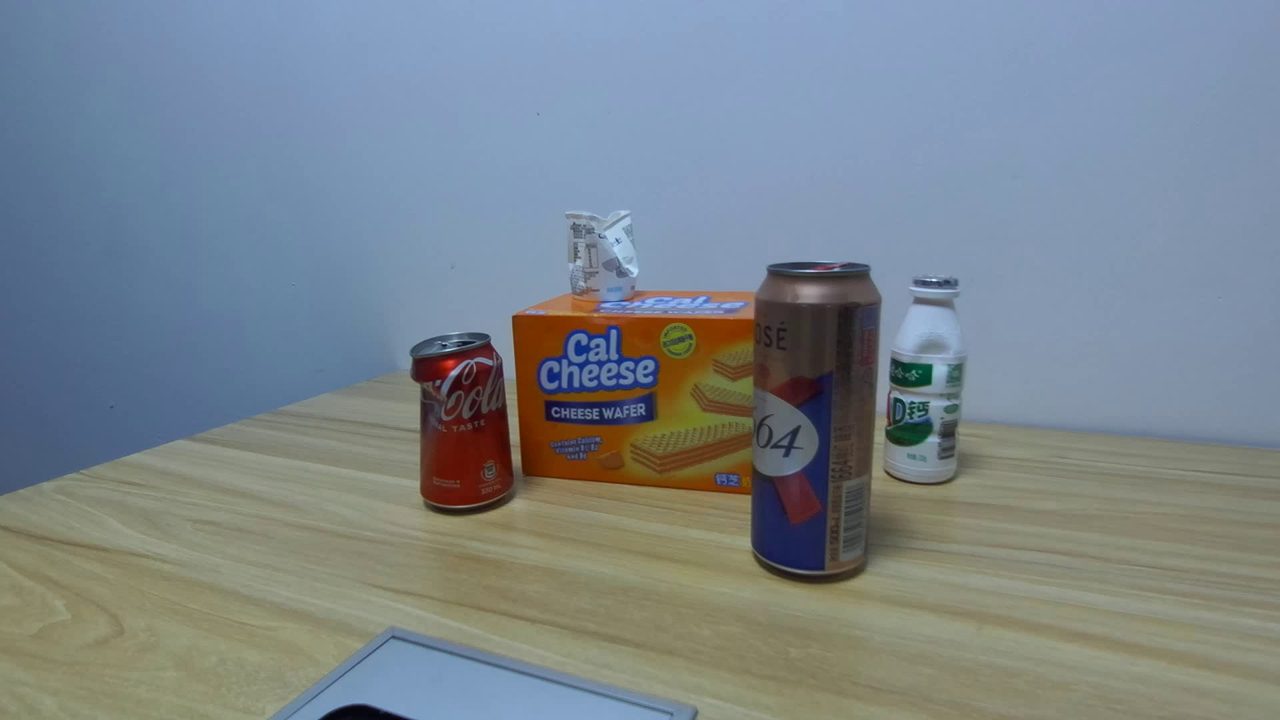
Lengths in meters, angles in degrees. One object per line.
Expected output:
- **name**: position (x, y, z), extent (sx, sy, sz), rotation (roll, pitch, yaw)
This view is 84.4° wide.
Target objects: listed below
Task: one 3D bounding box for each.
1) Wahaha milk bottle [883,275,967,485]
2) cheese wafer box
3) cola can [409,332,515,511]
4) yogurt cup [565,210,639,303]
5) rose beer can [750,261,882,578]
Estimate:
- **Wahaha milk bottle**: position (0.208, 0.020, 0.512), extent (0.053, 0.136, 0.053), rotation (0, 11, 0)
- **cheese wafer box**: position (0.032, 0.016, 0.566), extent (0.221, 0.129, 0.148), rotation (2, 13, 16)
- **cola can**: position (-0.123, 0.043, 0.493), extent (0.066, 0.117, 0.072), rotation (-5, 12, -21)
- **yogurt cup**: position (-0.032, -0.088, 0.589), extent (0.055, 0.072, 0.055), rotation (-8, 16, -27)
- **rose beer can**: position (0.097, 0.034, 0.392), extent (0.068, 0.169, 0.068), rotation (-1, 12, 1)
